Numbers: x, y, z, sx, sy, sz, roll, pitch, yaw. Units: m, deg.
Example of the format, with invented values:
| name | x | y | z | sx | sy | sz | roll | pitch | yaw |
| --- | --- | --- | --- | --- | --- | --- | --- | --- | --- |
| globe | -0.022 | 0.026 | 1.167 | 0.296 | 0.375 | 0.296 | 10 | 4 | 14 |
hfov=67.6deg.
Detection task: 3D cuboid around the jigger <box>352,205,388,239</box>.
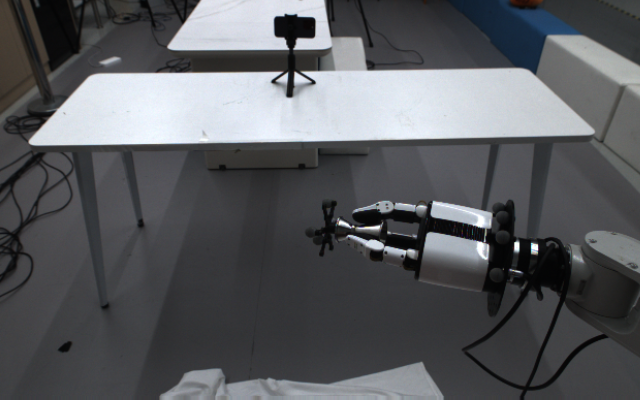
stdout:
| name | x | y | z | sx | sy | sz | roll | pitch | yaw |
| --- | --- | --- | --- | --- | --- | --- | --- | --- | --- |
| jigger | 0.067 | 0.039 | 0.701 | 0.071 | 0.043 | 0.043 | 5 | 34 | 21 |
